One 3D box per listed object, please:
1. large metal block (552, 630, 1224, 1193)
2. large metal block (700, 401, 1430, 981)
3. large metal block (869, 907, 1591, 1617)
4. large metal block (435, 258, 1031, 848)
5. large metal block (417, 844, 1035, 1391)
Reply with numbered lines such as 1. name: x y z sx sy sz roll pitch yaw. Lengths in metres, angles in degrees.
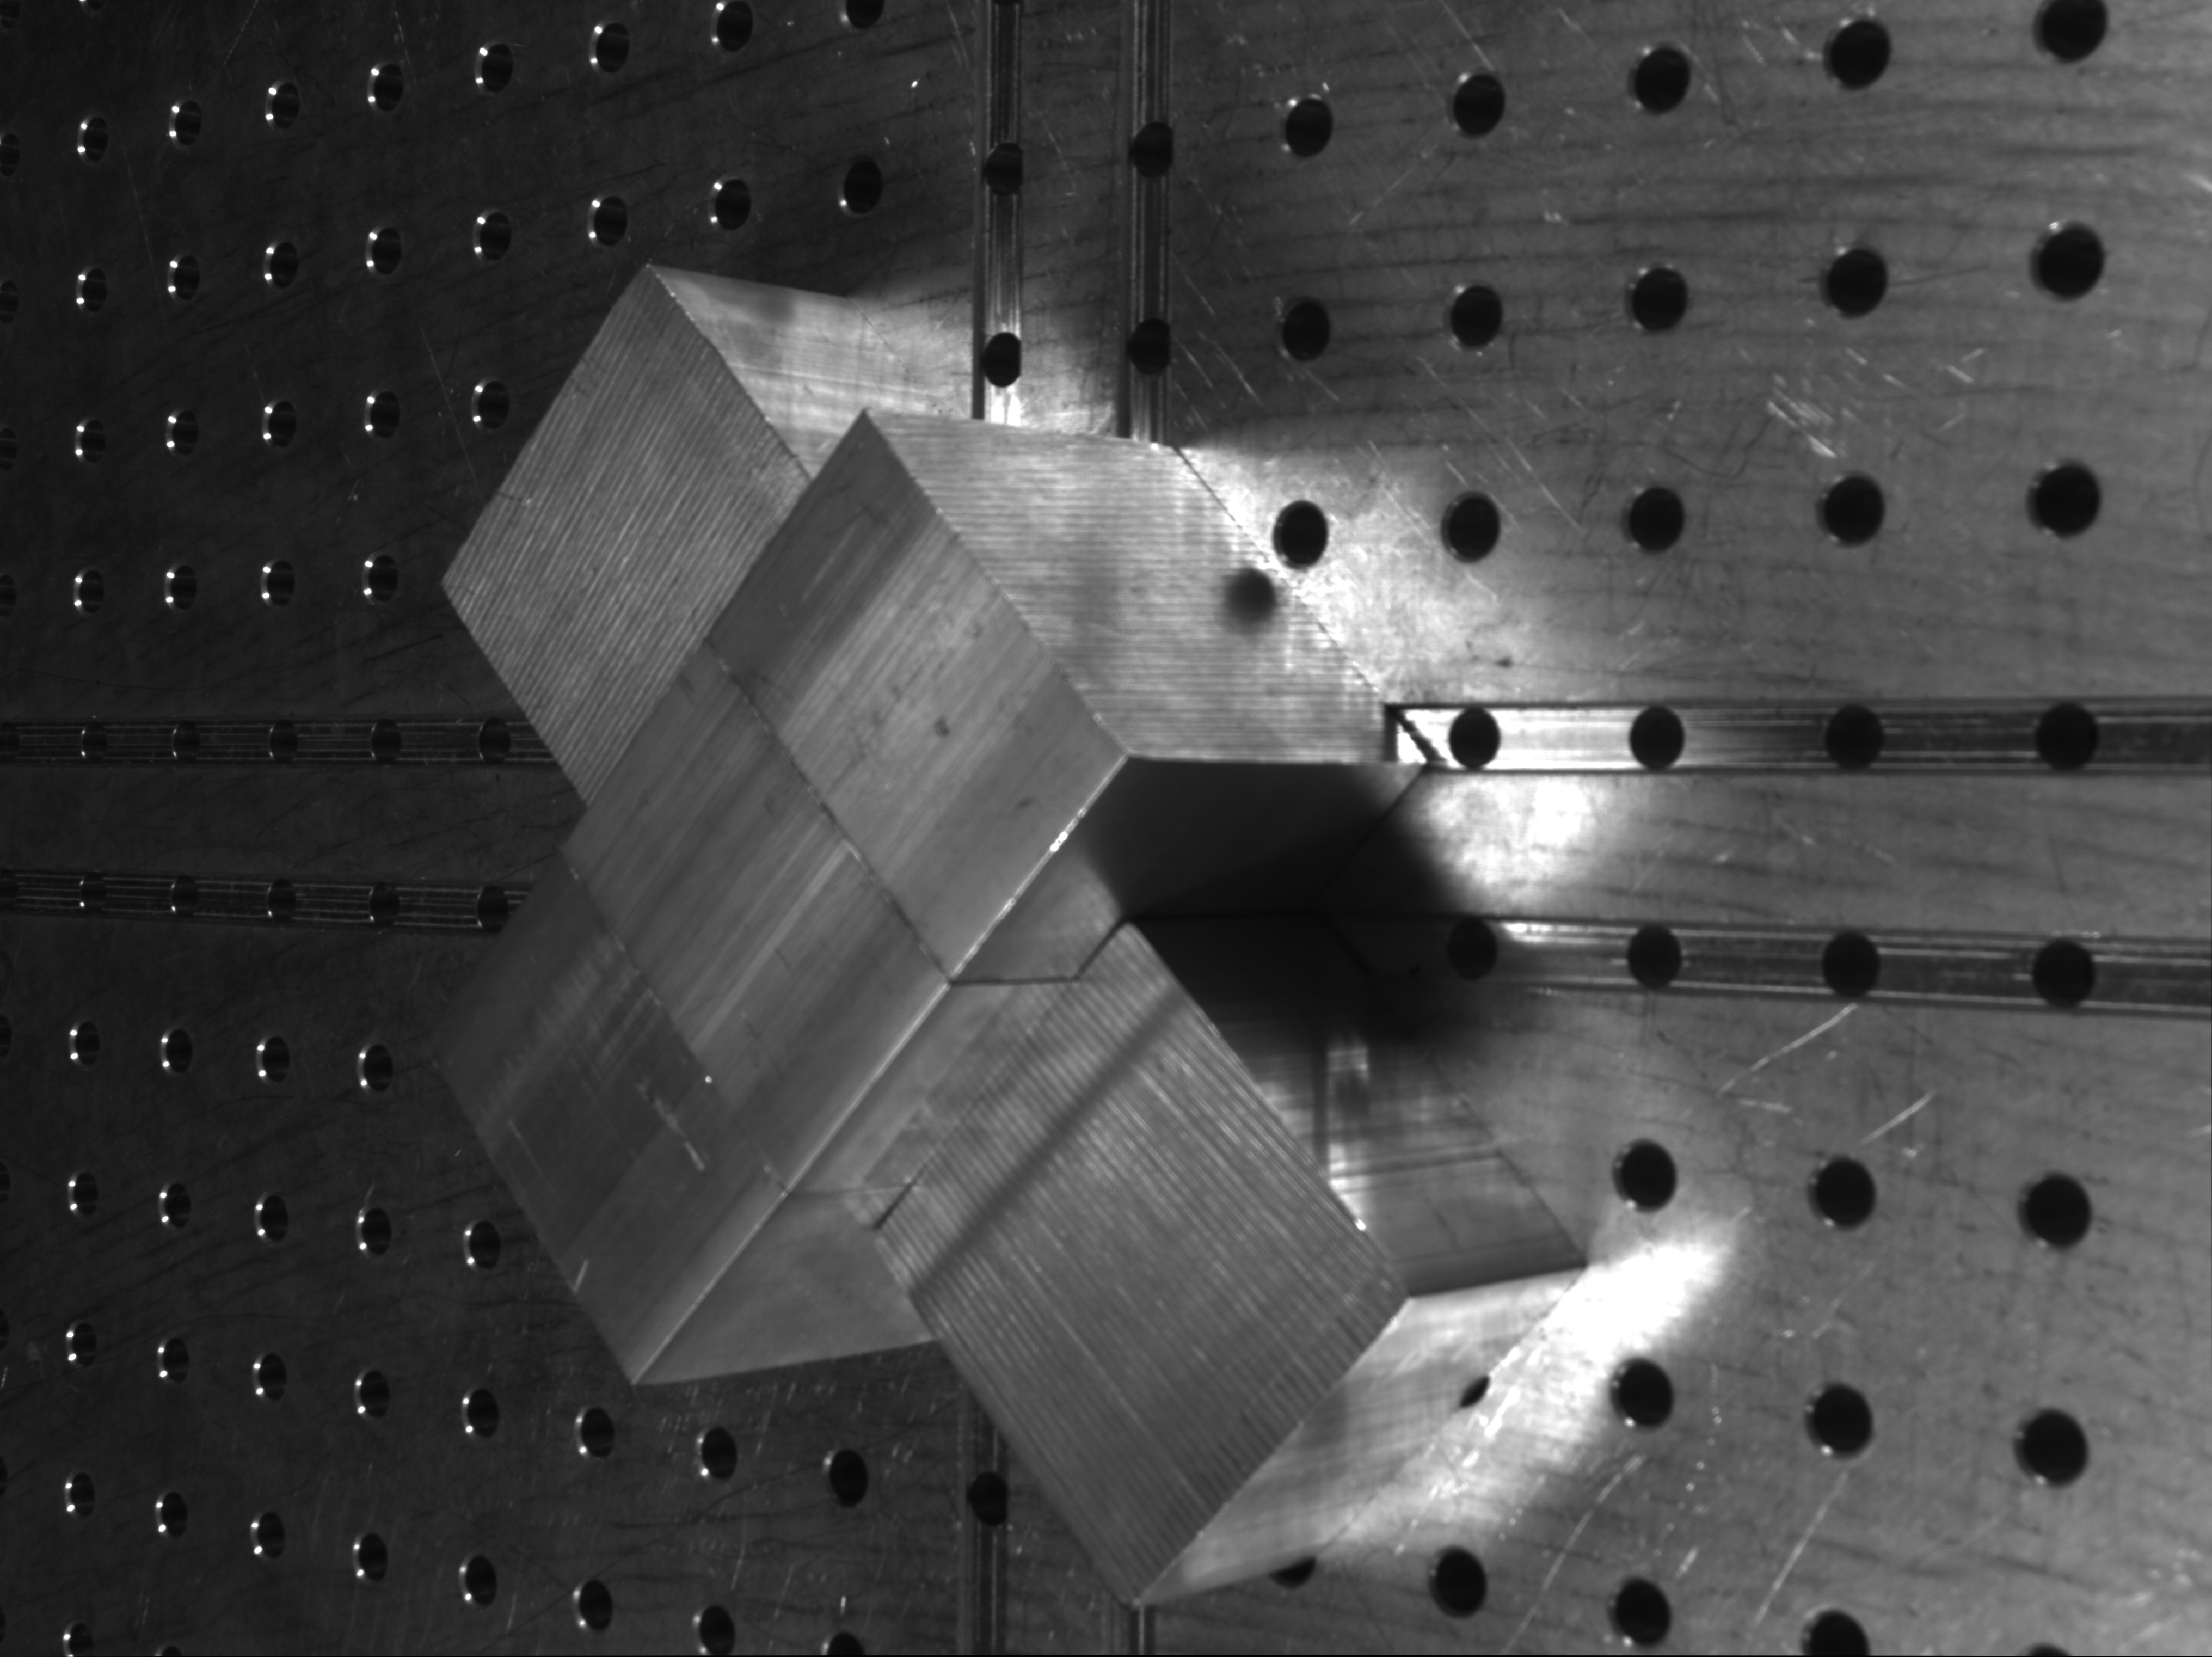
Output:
1. large metal block: -0.035 0.013 0.633 0.050 0.080 0.080 -52 60 27
2. large metal block: -0.007 -0.022 0.610 0.050 0.080 0.080 -52 60 27
3. large metal block: 0.019 0.070 0.608 0.080 0.050 0.080 -52 60 28
4. large metal block: -0.068 -0.046 0.675 0.080 0.050 0.080 52 121 27
5. large metal block: -0.062 0.049 0.655 0.050 0.080 0.080 -52 60 27
